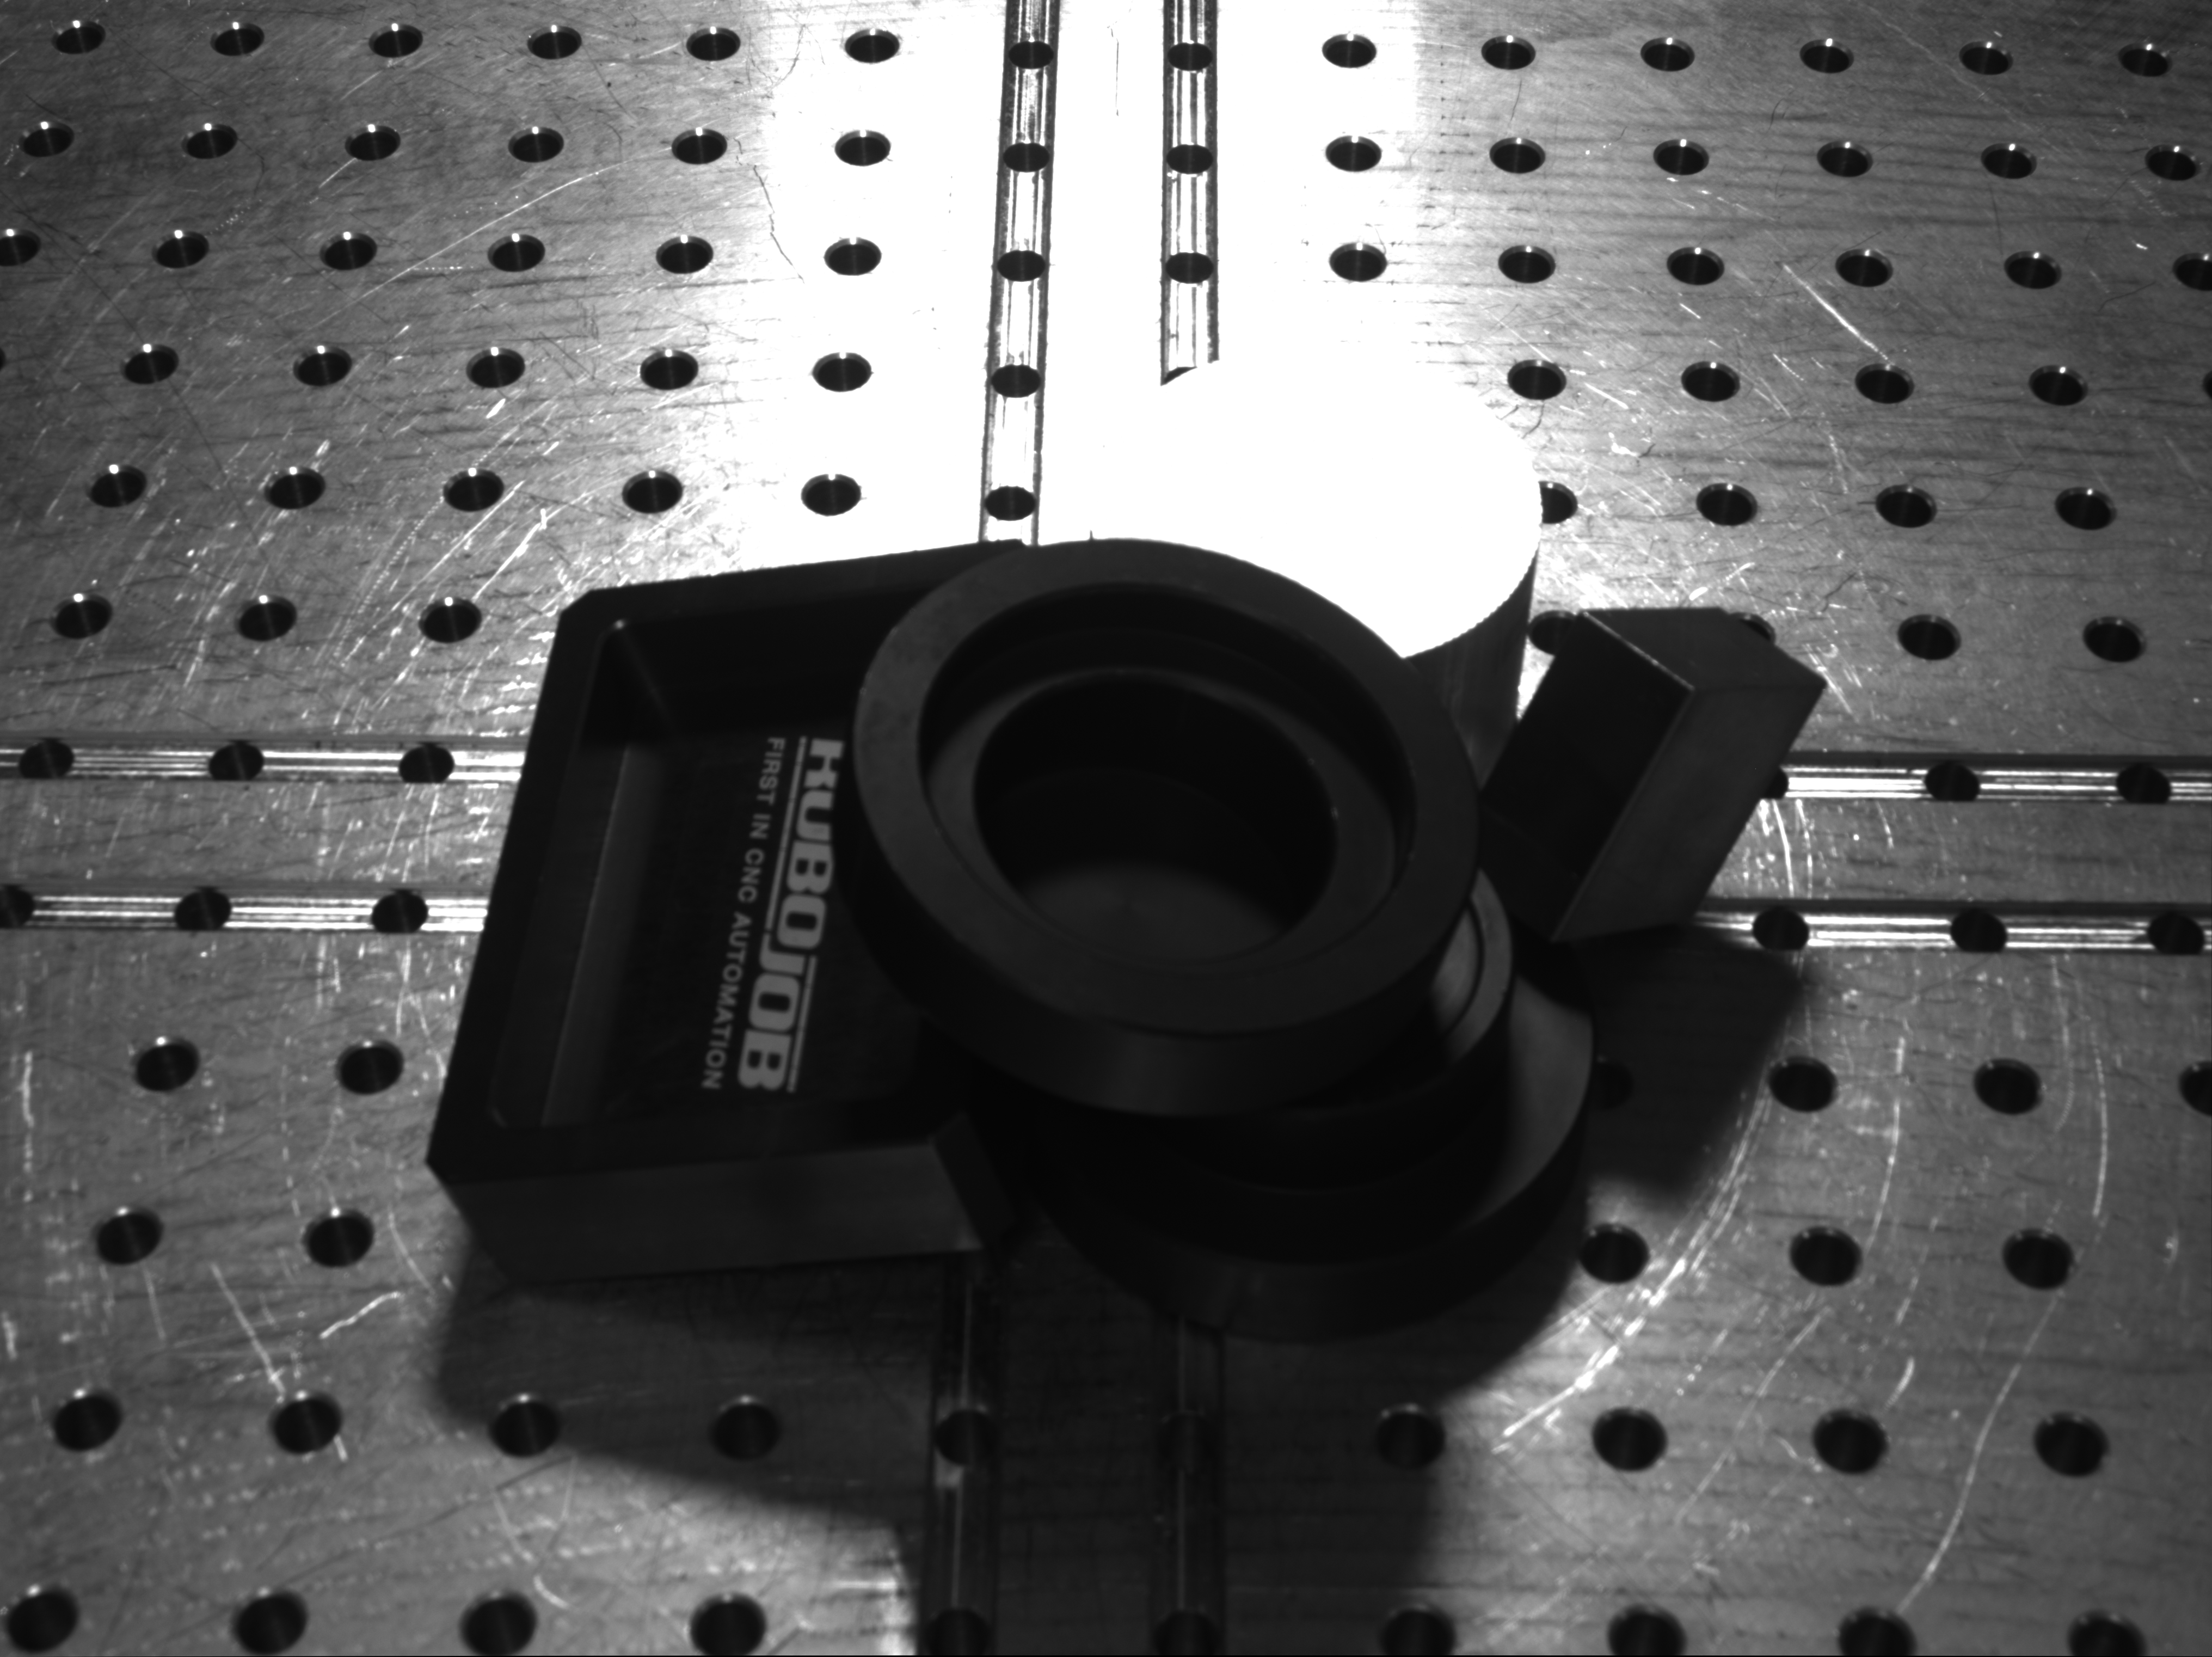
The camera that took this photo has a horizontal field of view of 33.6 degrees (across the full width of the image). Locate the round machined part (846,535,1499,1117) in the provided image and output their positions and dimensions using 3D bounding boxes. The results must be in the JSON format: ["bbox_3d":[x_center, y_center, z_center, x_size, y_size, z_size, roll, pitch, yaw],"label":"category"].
[{"bbox_3d":[0.008,0.004,0.568,0.098,0.042,0.098,7,51,-8],"label":"round machined part"}]

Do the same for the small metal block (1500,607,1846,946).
[{"bbox_3d":[0.093,-0.010,0.624,0.025,0.050,0.050,39,25,28],"label":"small metal block"}]

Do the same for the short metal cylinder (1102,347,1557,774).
[{"bbox_3d":[0.039,-0.041,0.663,0.080,0.050,0.080,0,50,0],"label":"short metal cylinder"}]

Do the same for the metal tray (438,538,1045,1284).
[{"bbox_3d":[-0.054,0.012,0.617,0.090,0.030,0.130,-6,48,14],"label":"metal tray"}]

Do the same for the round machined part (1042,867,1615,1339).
[{"bbox_3d":[0.035,0.032,0.606,0.098,0.042,0.098,0,50,0],"label":"round machined part"}]
